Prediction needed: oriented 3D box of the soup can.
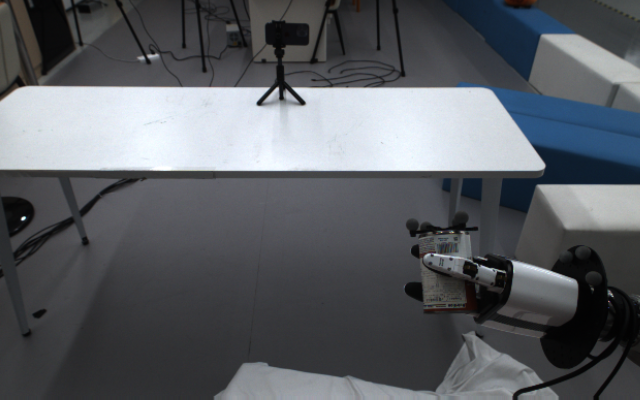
[{"bbox_3d":[0.167,0.093,0.625,0.067,0.067,0.101,-1,77,-5],"label":"soup can"}]
